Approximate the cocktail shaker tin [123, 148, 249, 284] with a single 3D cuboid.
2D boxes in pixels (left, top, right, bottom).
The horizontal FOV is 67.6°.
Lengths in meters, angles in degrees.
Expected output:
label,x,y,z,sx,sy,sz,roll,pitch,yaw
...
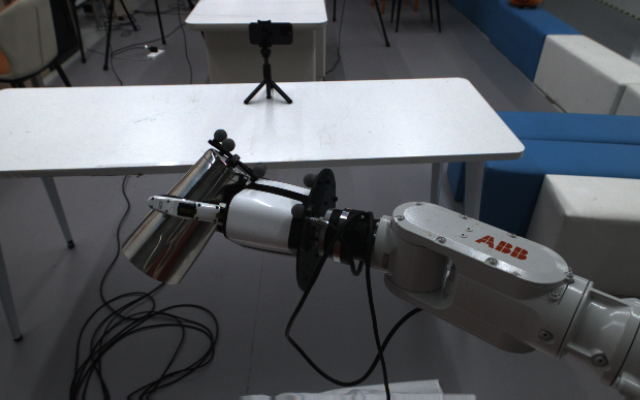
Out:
label,x,y,z,sx,sy,sz,roll,pitch,yaw
cocktail shaker tin,-0.171,0.016,0.646,0.170,0.093,0.093,-50,46,4
